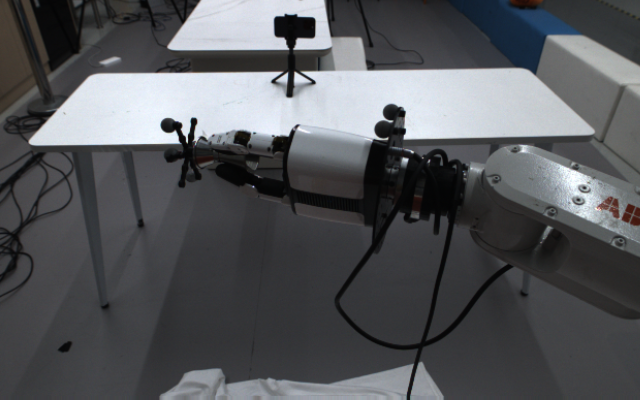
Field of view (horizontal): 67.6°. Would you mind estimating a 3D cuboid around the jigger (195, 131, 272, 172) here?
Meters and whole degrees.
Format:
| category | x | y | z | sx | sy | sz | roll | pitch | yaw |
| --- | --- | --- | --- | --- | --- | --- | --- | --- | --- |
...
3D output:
| category | x | y | z | sx | sy | sz | roll | pitch | yaw |
| --- | --- | --- | --- | --- | --- | --- | --- | --- | --- |
| jigger | -0.107 | -0.059 | 0.580 | 0.071 | 0.043 | 0.043 | 3 | 34 | 14 |
